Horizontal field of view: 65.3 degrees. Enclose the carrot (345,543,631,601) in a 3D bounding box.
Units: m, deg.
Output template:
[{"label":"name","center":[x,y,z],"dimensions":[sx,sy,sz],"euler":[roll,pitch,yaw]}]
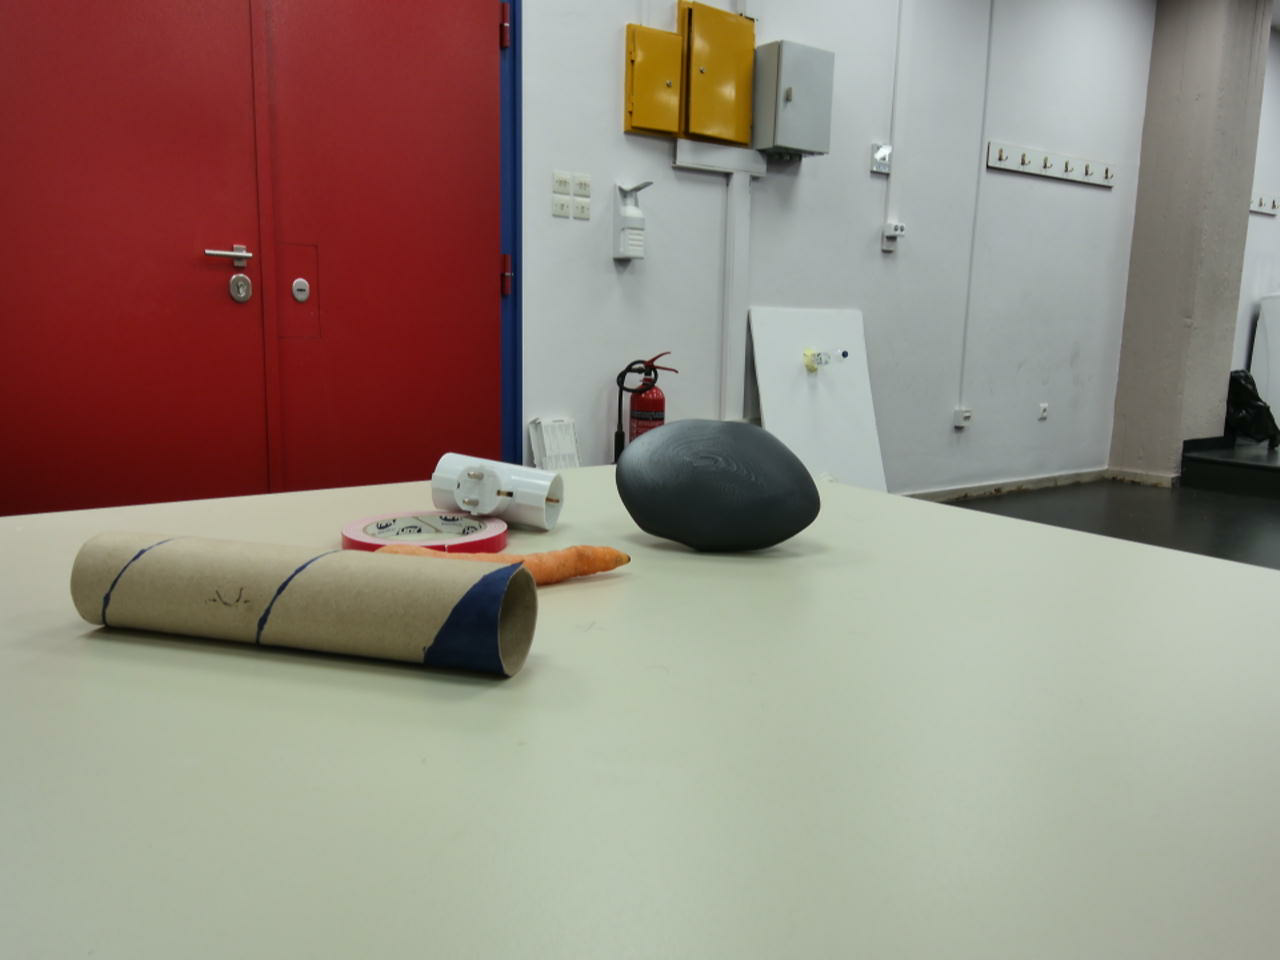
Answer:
[{"label":"carrot","center":[-0.080,0.048,0.572],"dimensions":[0.173,0.032,0.030],"euler":[-3,8,-27]}]
